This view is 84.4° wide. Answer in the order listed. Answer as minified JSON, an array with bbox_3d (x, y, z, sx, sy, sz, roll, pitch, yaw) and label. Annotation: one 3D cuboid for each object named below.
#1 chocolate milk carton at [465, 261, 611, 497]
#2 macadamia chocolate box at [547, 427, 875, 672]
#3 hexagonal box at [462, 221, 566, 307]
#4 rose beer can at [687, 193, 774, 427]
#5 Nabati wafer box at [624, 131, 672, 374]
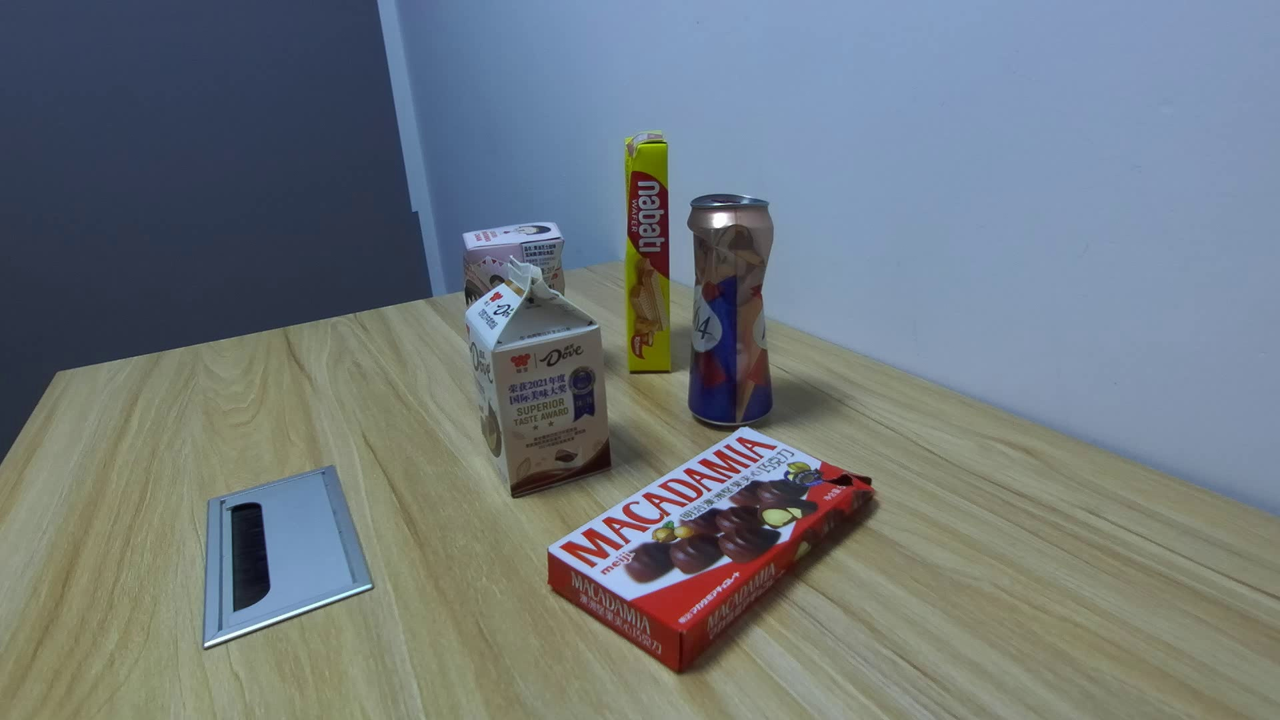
[{"bbox_3d":[-0.069,0.003,0.474,0.074,0.148,0.075,-14,26,-21],"label":"chocolate milk carton"},{"bbox_3d":[0.049,0.092,0.399,0.102,0.027,0.187,18,31,40],"label":"macadamia chocolate box"},{"bbox_3d":[-0.105,-0.048,0.628,0.088,0.135,0.093,13,28,36],"label":"hexagonal box"},{"bbox_3d":[0.068,-0.035,0.520,0.065,0.167,0.076,0,21,5],"label":"rose beer can"},{"bbox_3d":[0.007,-0.095,0.635,0.042,0.203,0.096,-1,23,2],"label":"Nabati wafer box"}]
